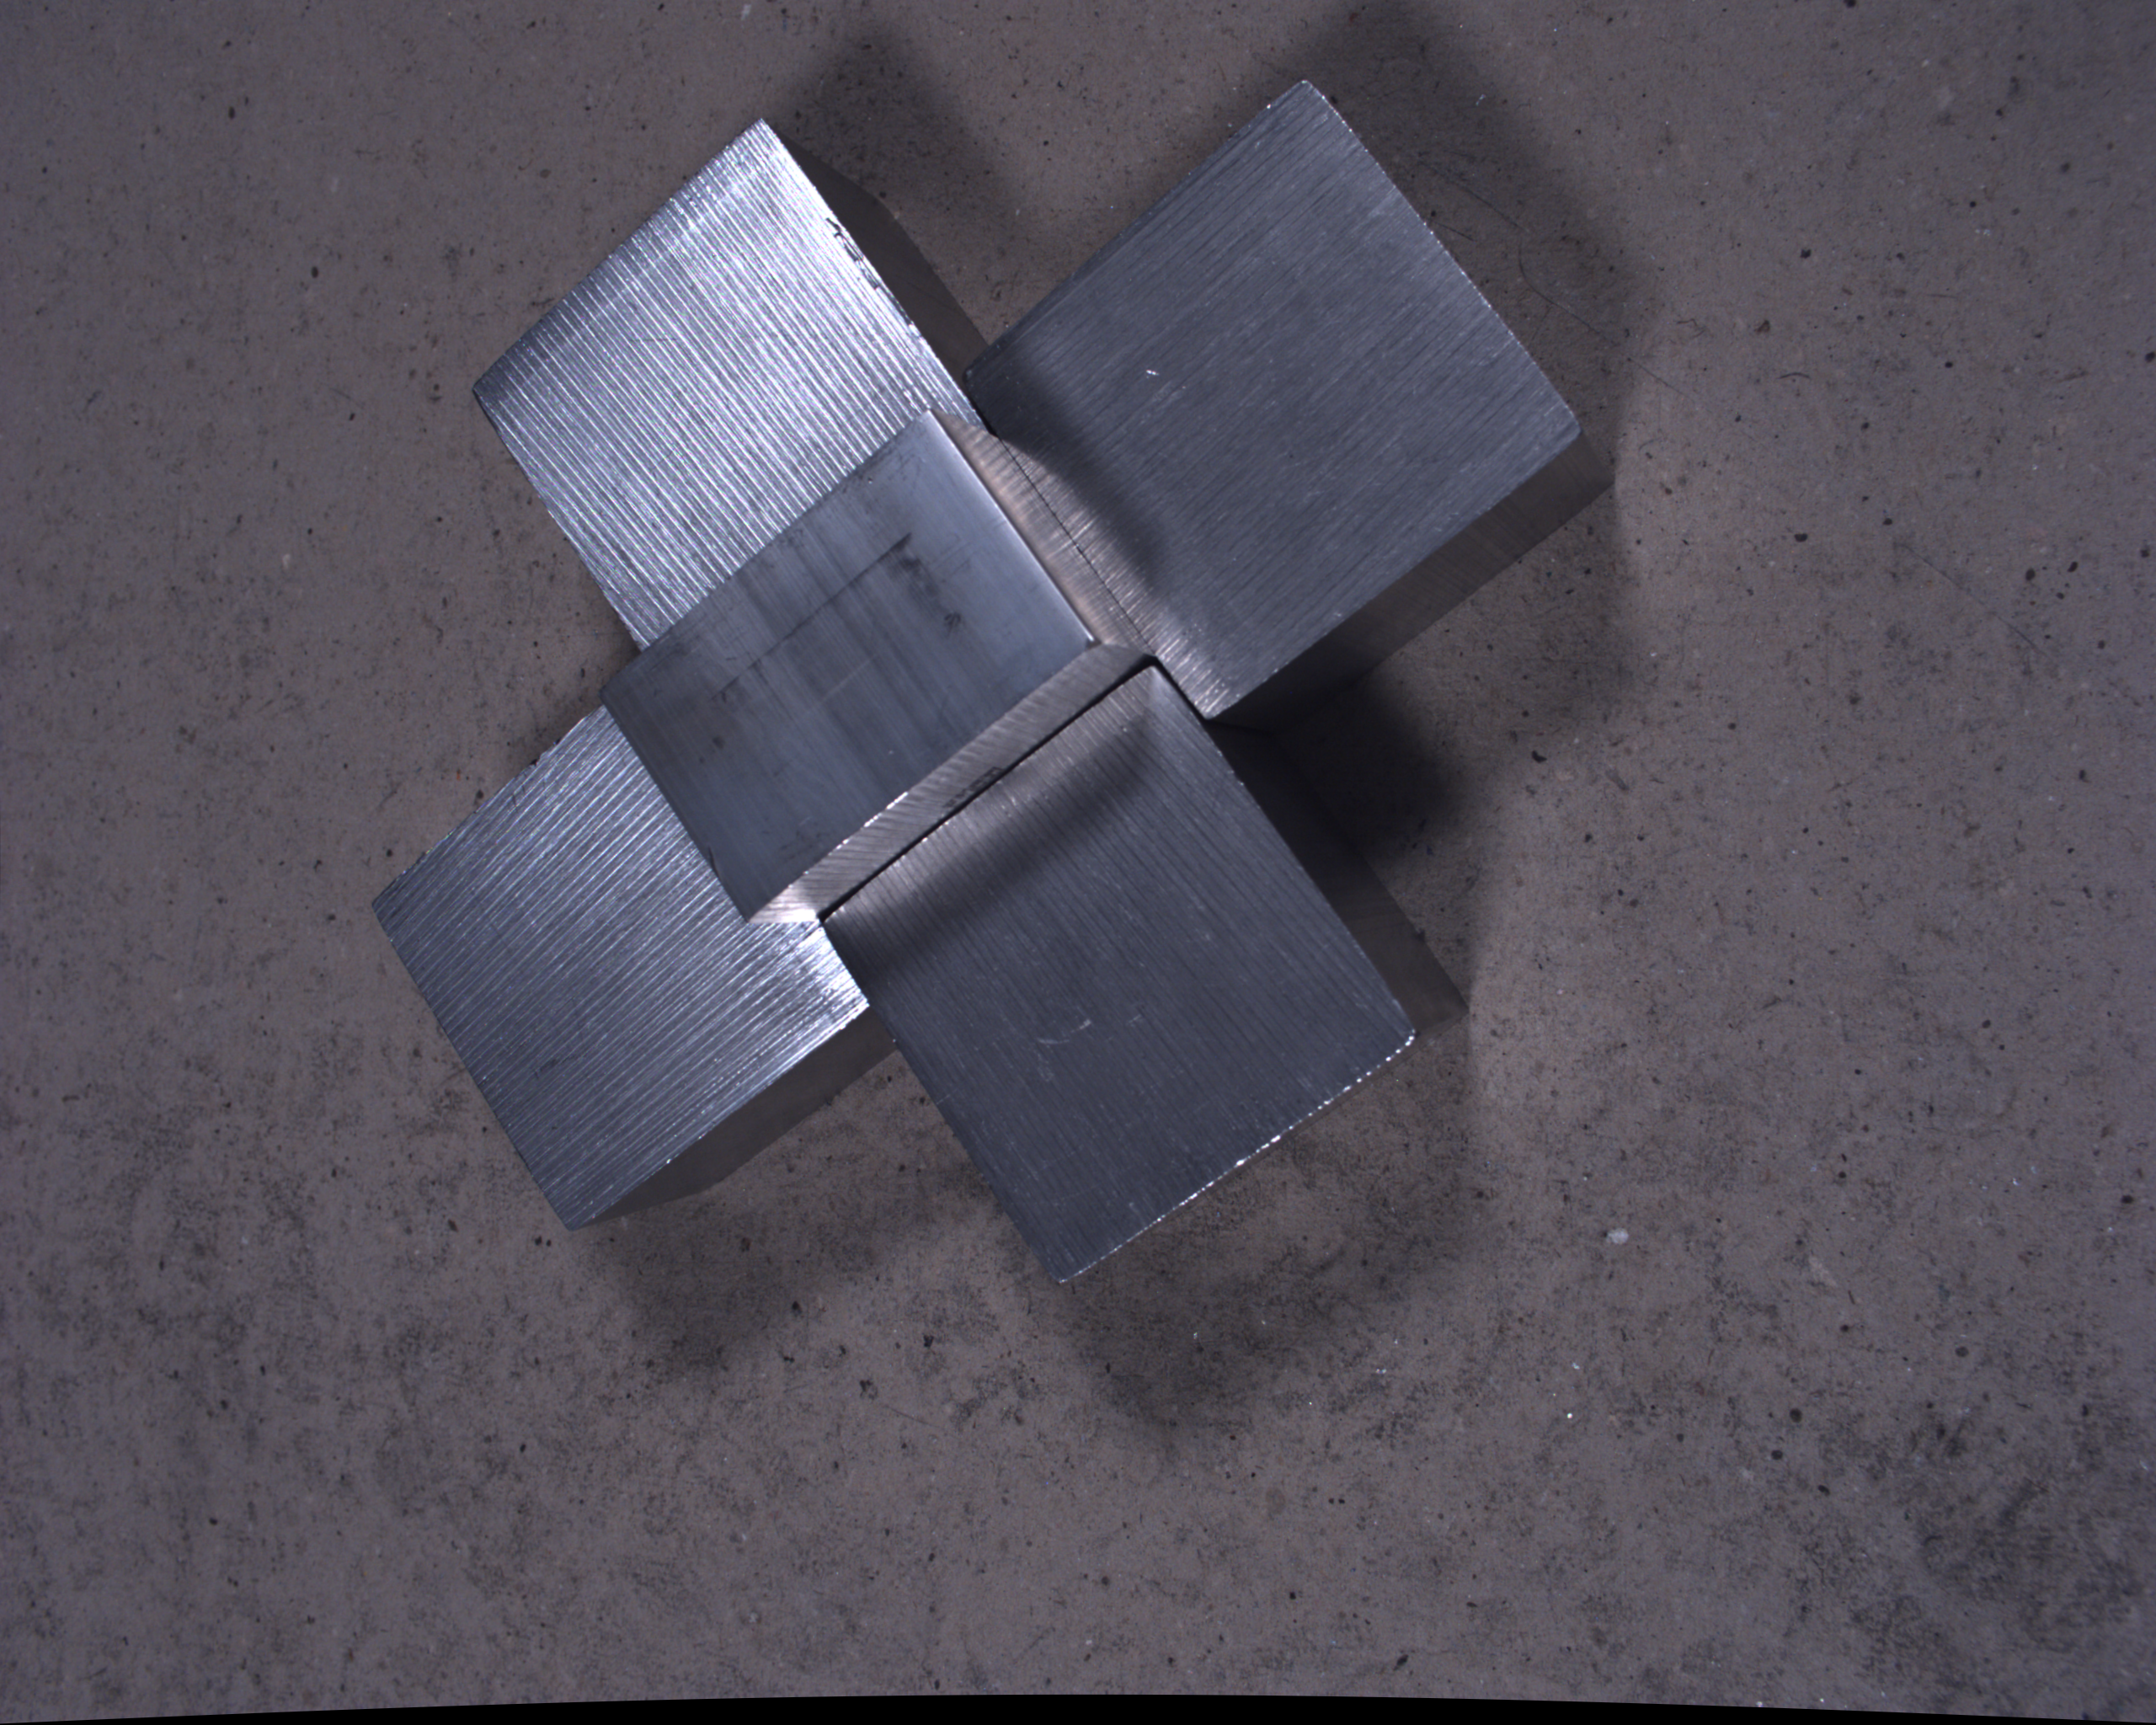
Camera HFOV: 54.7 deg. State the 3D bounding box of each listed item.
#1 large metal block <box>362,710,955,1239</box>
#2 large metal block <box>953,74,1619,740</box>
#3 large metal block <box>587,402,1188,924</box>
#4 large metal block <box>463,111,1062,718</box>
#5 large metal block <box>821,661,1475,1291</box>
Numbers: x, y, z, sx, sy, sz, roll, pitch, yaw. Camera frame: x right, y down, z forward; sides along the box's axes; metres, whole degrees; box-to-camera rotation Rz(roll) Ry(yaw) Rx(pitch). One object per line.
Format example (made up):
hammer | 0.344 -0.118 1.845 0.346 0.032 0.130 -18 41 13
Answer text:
large metal block | -0.082 0.017 0.424 0.080 0.050 0.080 -38 78 15
large metal block | 0.039 -0.079 0.382 0.080 0.050 0.080 -38 78 15
large metal block | -0.028 -0.033 0.390 0.080 0.080 0.050 -38 78 16
large metal block | -0.060 -0.085 0.416 0.080 0.050 0.080 -38 78 15
large metal block | 0.014 0.020 0.390 0.080 0.050 0.080 -38 78 15
